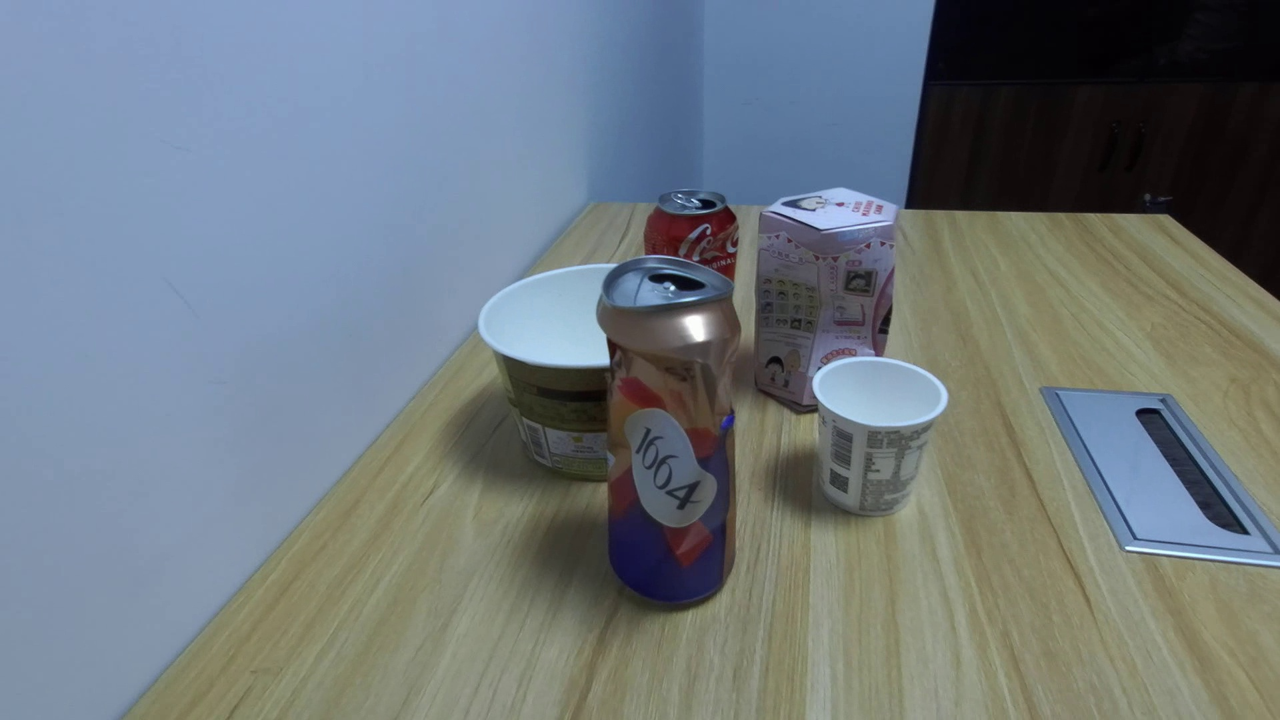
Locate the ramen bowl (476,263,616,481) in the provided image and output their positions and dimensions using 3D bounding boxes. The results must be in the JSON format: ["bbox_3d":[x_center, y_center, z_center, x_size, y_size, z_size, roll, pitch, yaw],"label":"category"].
[{"bbox_3d":[-0.024,0.008,0.452,0.140,0.095,0.140,-3,29,2],"label":"ramen bowl"}]

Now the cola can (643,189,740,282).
[{"bbox_3d":[0.042,-0.073,0.565,0.065,0.117,0.067,19,33,34],"label":"cola can"}]

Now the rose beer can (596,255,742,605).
[{"bbox_3d":[0.013,0.038,0.332,0.073,0.162,0.068,9,29,19],"label":"rose beer can"}]

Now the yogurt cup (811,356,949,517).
[{"bbox_3d":[0.131,0.044,0.398,0.072,0.068,0.072,-3,31,2],"label":"yogurt cup"}]

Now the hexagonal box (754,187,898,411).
[{"bbox_3d":[0.125,-0.039,0.481,0.093,0.135,0.088,-9,31,-12],"label":"hexagonal box"}]
